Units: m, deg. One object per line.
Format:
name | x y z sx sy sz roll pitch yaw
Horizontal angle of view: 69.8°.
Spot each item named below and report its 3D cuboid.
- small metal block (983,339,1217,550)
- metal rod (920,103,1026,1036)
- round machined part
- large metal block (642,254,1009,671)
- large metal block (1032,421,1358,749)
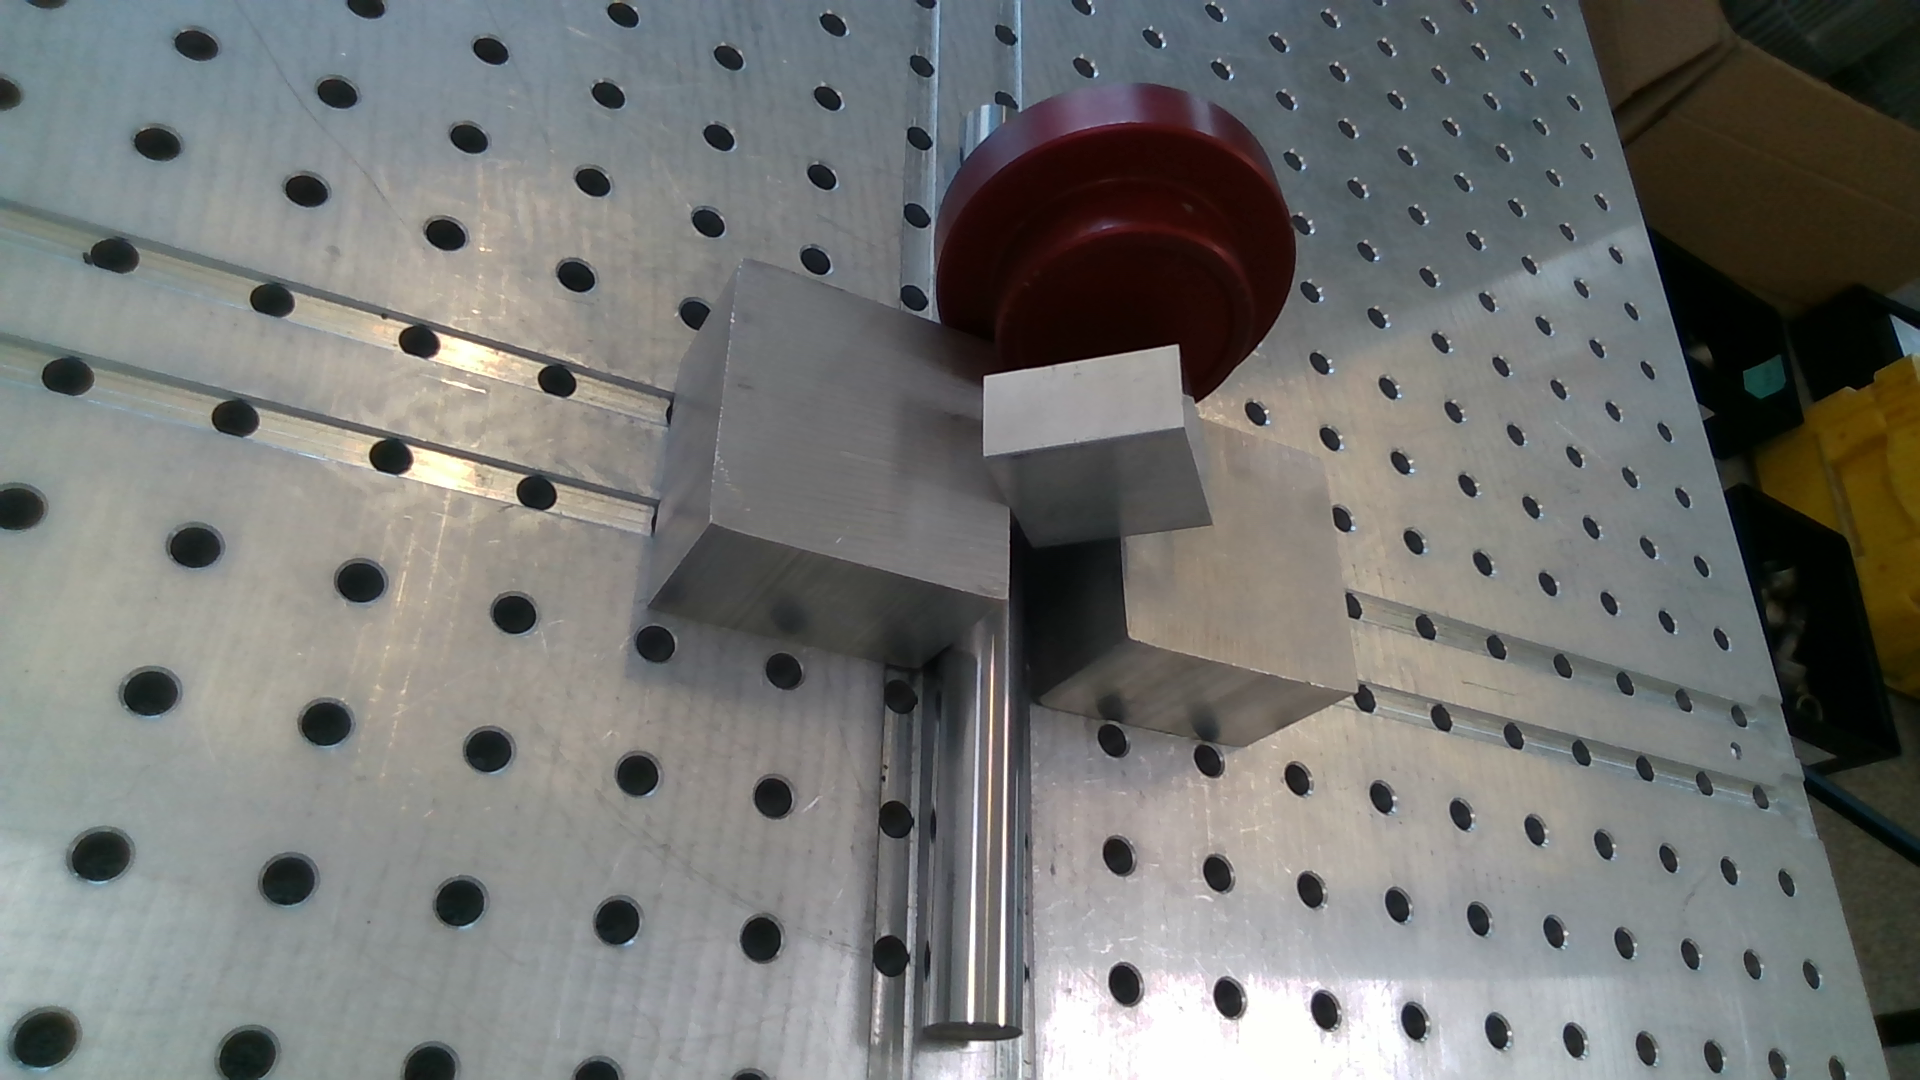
small metal block | 0.037 -0.023 0.359 0.050 0.050 0.025 57 29 -57
metal rod | 0.007 -0.012 0.407 0.025 0.025 0.299 16 58 -24
round machined part | 0.043 -0.069 0.375 0.098 0.098 0.042 18 43 -23
large metal block | -0.034 -0.018 0.369 0.080 0.050 0.080 15 58 -24
large metal block | 0.067 0.011 0.416 0.080 0.050 0.080 15 58 -25
